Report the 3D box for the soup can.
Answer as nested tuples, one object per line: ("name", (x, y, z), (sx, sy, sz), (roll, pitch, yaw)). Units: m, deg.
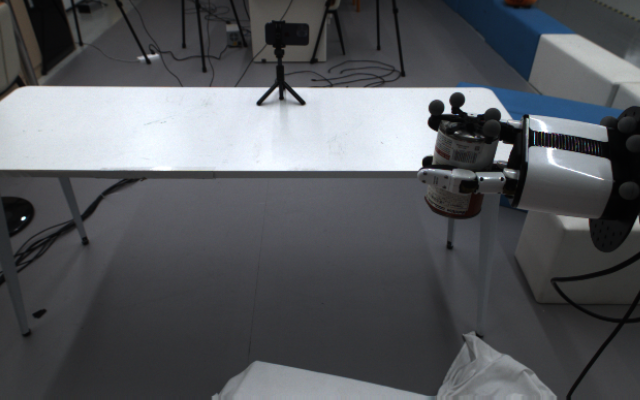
("soup can", (0.165, -0.039, 0.563), (0.067, 0.101, 0.067), (2, 32, -1))
